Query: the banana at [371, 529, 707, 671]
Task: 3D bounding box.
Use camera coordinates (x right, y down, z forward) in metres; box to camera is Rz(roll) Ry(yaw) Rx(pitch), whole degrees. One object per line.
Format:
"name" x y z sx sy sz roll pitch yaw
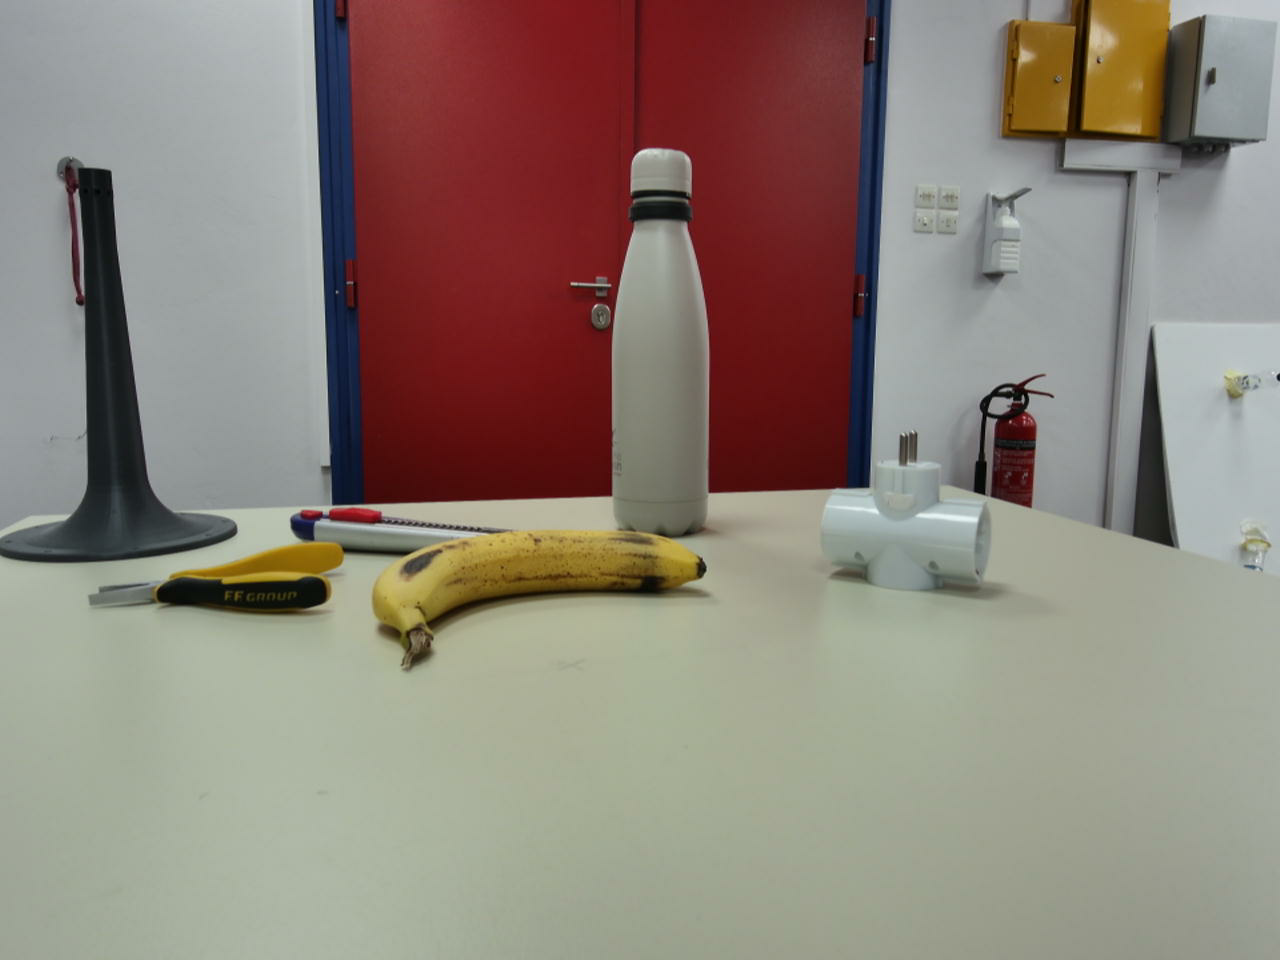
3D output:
"banana" -0.061 0.052 0.533 0.186 0.038 0.097 -6 9 -41
